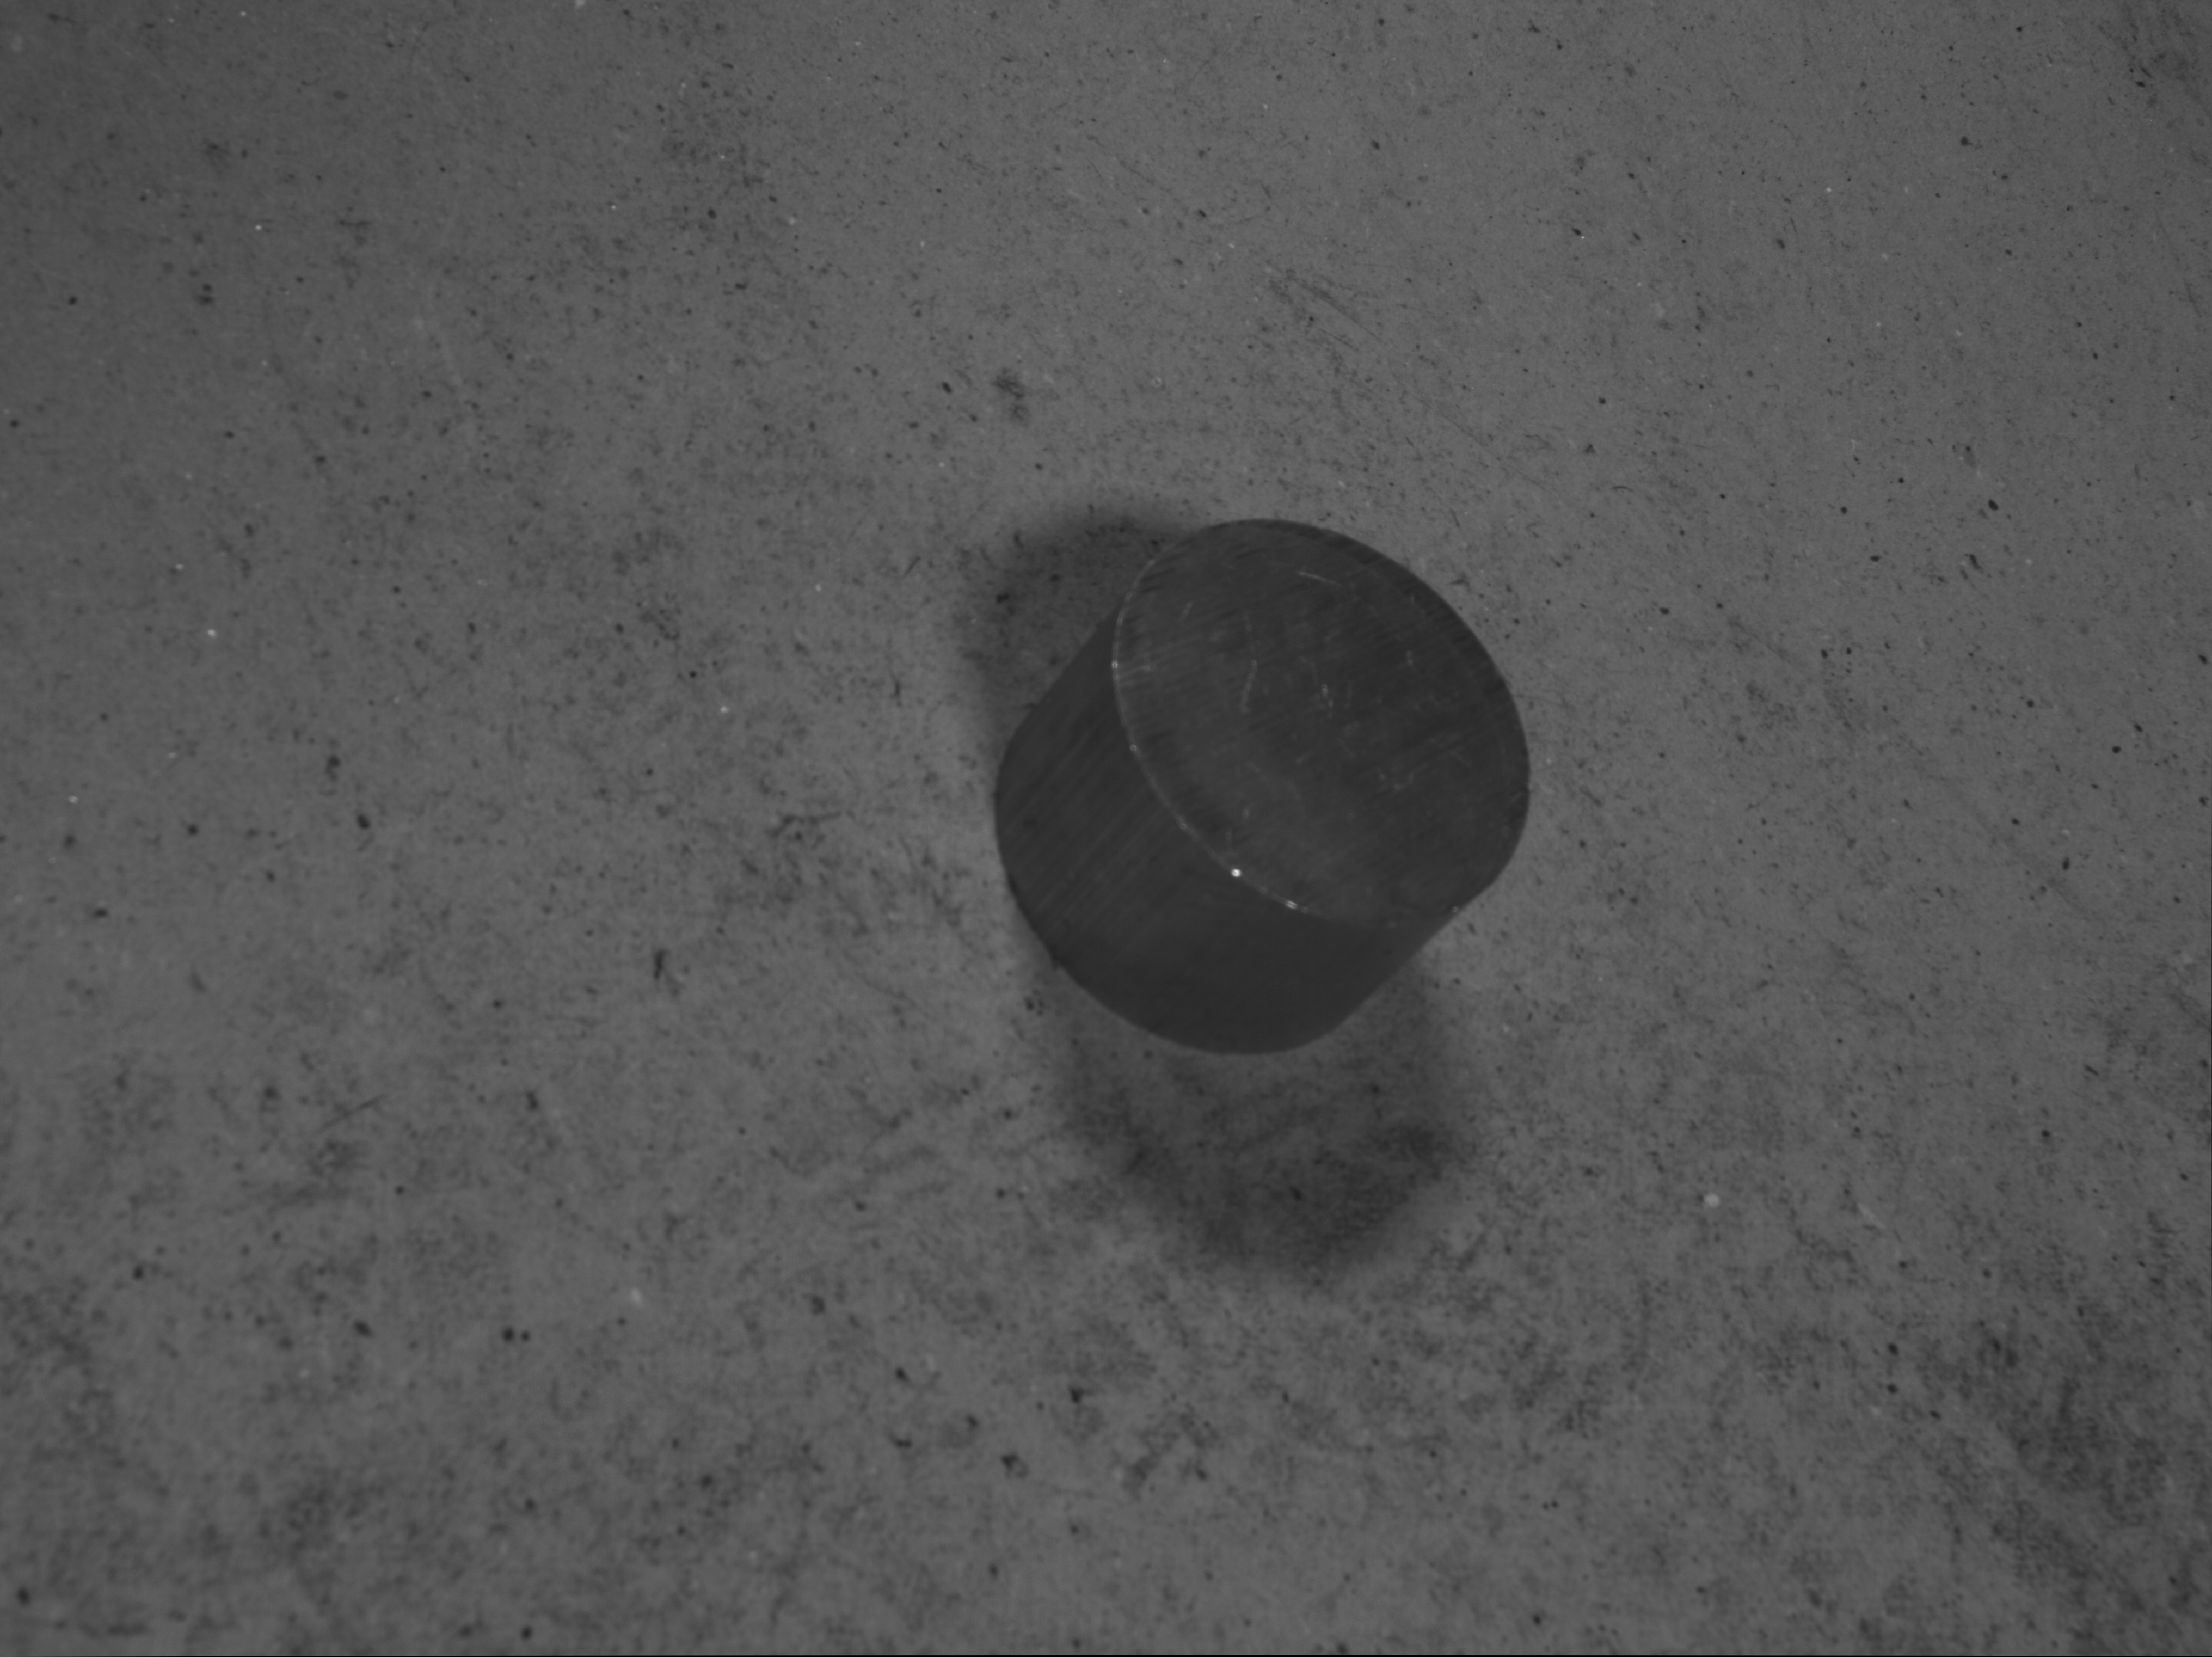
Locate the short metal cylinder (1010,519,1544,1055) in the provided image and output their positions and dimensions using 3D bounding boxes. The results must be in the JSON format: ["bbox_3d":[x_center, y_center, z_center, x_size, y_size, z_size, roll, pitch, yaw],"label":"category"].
[{"bbox_3d":[0.030,-0.007,0.644,0.080,0.050,0.080,14,56,-21],"label":"short metal cylinder"}]
